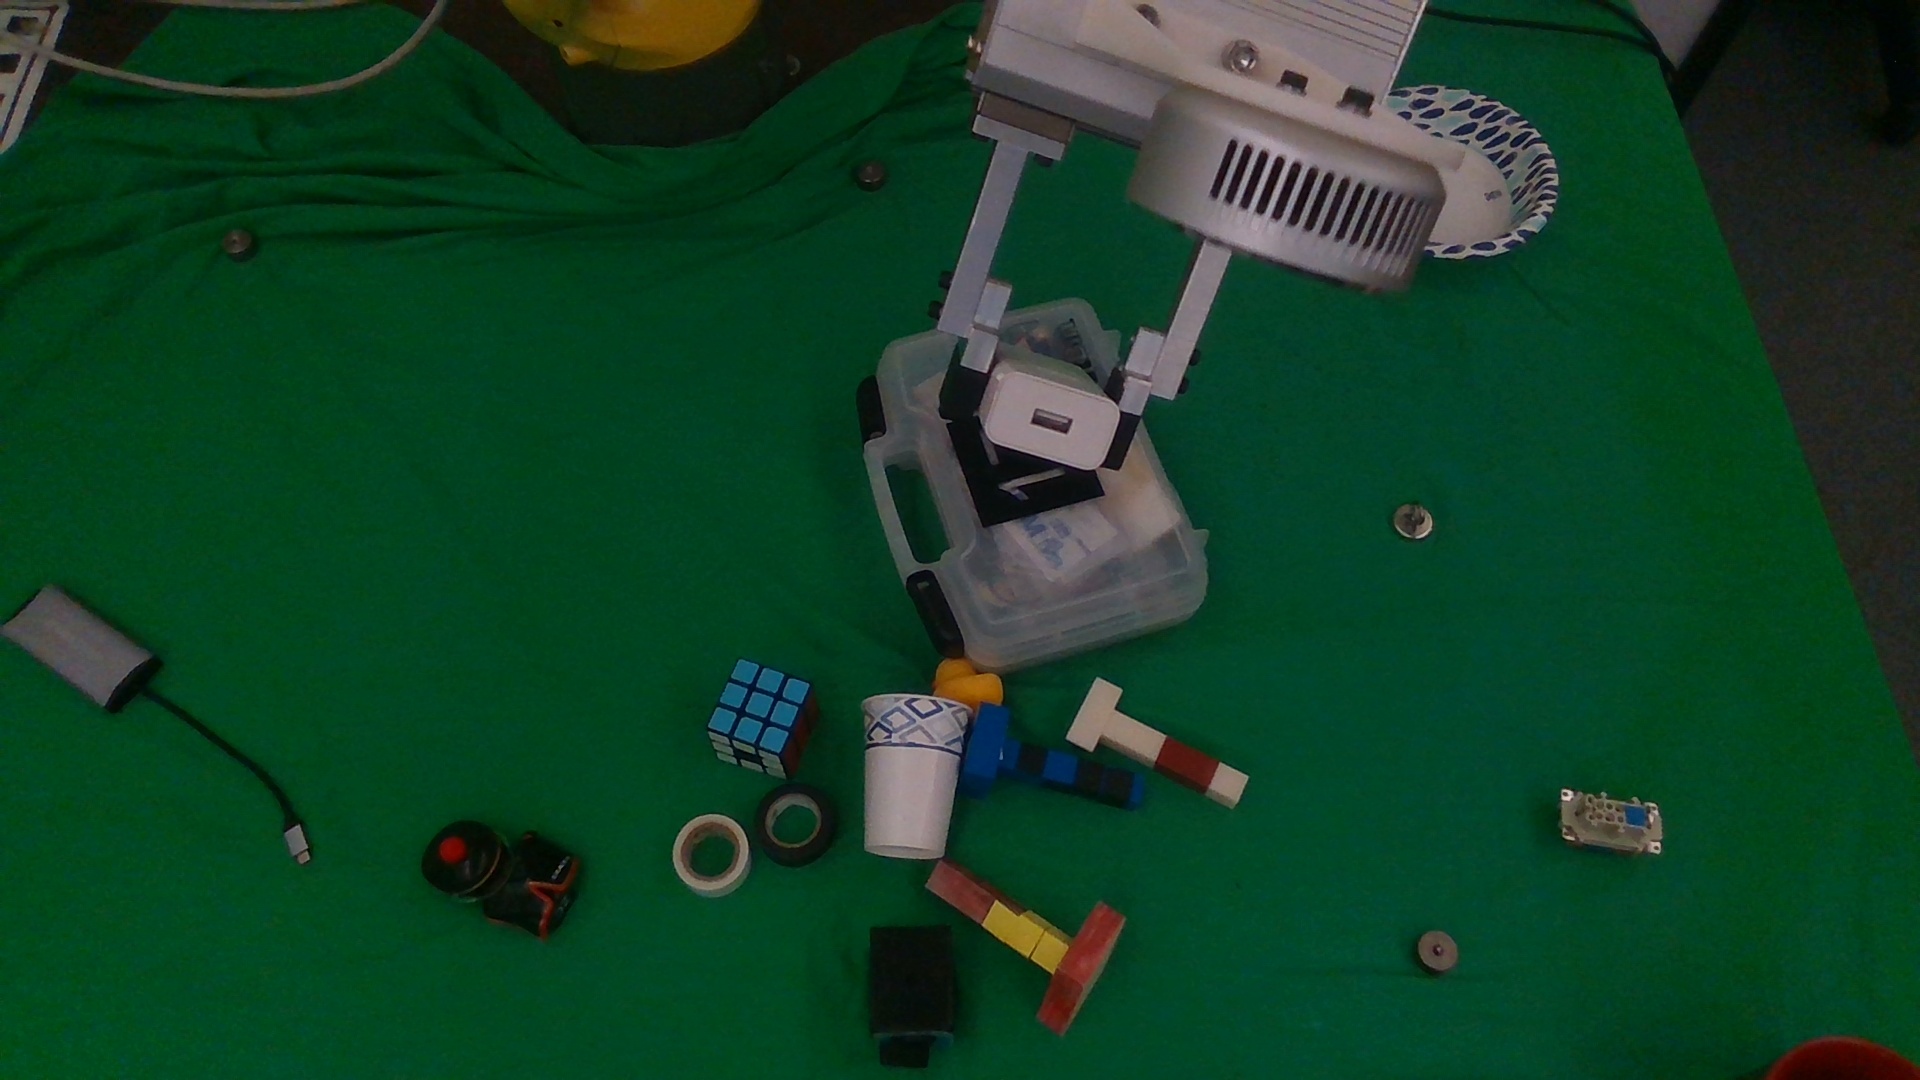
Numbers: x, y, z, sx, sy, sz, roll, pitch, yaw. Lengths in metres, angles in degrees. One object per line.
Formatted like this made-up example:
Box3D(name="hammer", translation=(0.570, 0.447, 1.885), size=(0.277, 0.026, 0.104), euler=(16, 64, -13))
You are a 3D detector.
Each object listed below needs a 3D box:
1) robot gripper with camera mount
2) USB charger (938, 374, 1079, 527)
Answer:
Box3D(name="robot gripper with camera mount", translation=(0.050, -0.072, 0.359), size=(0.119, 0.193, 0.158), euler=(13, 106, -12))
Box3D(name="USB charger", translation=(0.015, -0.034, 0.460), size=(0.044, 0.029, 0.075), euler=(23, 19, -8))
